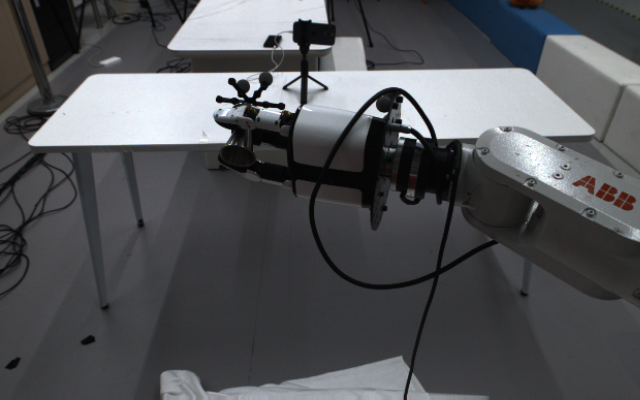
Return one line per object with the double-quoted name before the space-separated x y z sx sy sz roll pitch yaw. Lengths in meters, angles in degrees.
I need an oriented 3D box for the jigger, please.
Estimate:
"jigger" -0.097 -0.081 0.595 0.043 0.043 0.071 5 60 4
